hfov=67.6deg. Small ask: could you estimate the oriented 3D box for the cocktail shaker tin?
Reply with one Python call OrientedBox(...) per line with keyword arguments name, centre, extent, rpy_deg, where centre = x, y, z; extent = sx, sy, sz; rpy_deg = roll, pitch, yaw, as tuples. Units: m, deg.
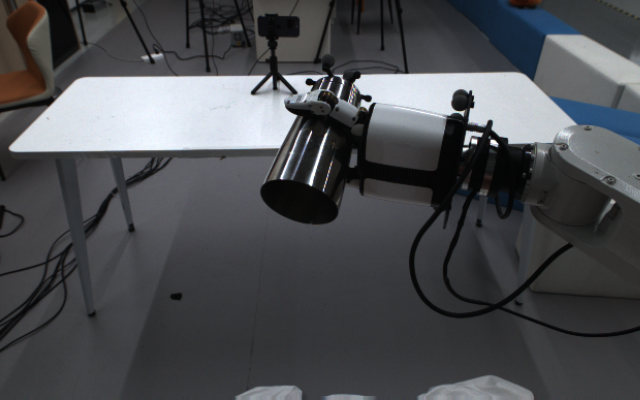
OrientedBox(name="cocktail shaker tin", centre=(0.000, -0.066, 0.582), extent=(0.093, 0.093, 0.170), rpy_deg=(11, 60, 12))
